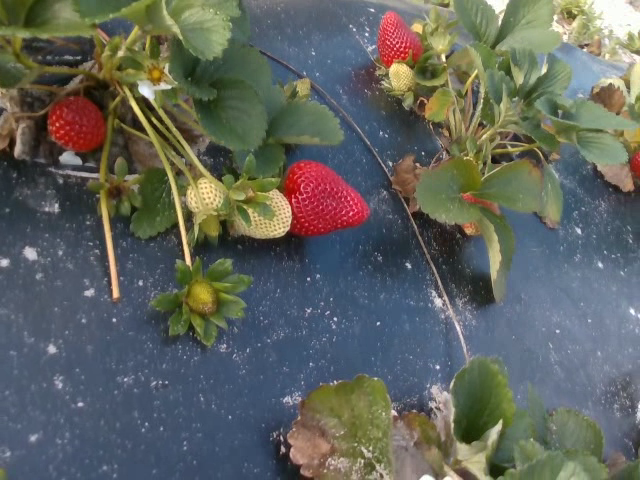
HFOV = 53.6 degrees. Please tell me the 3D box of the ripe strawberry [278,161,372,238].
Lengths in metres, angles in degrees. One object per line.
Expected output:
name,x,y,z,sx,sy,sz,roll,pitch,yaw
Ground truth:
ripe strawberry,0.005,-0.020,0.385,0.055,0.051,0.048,22,-5,16
